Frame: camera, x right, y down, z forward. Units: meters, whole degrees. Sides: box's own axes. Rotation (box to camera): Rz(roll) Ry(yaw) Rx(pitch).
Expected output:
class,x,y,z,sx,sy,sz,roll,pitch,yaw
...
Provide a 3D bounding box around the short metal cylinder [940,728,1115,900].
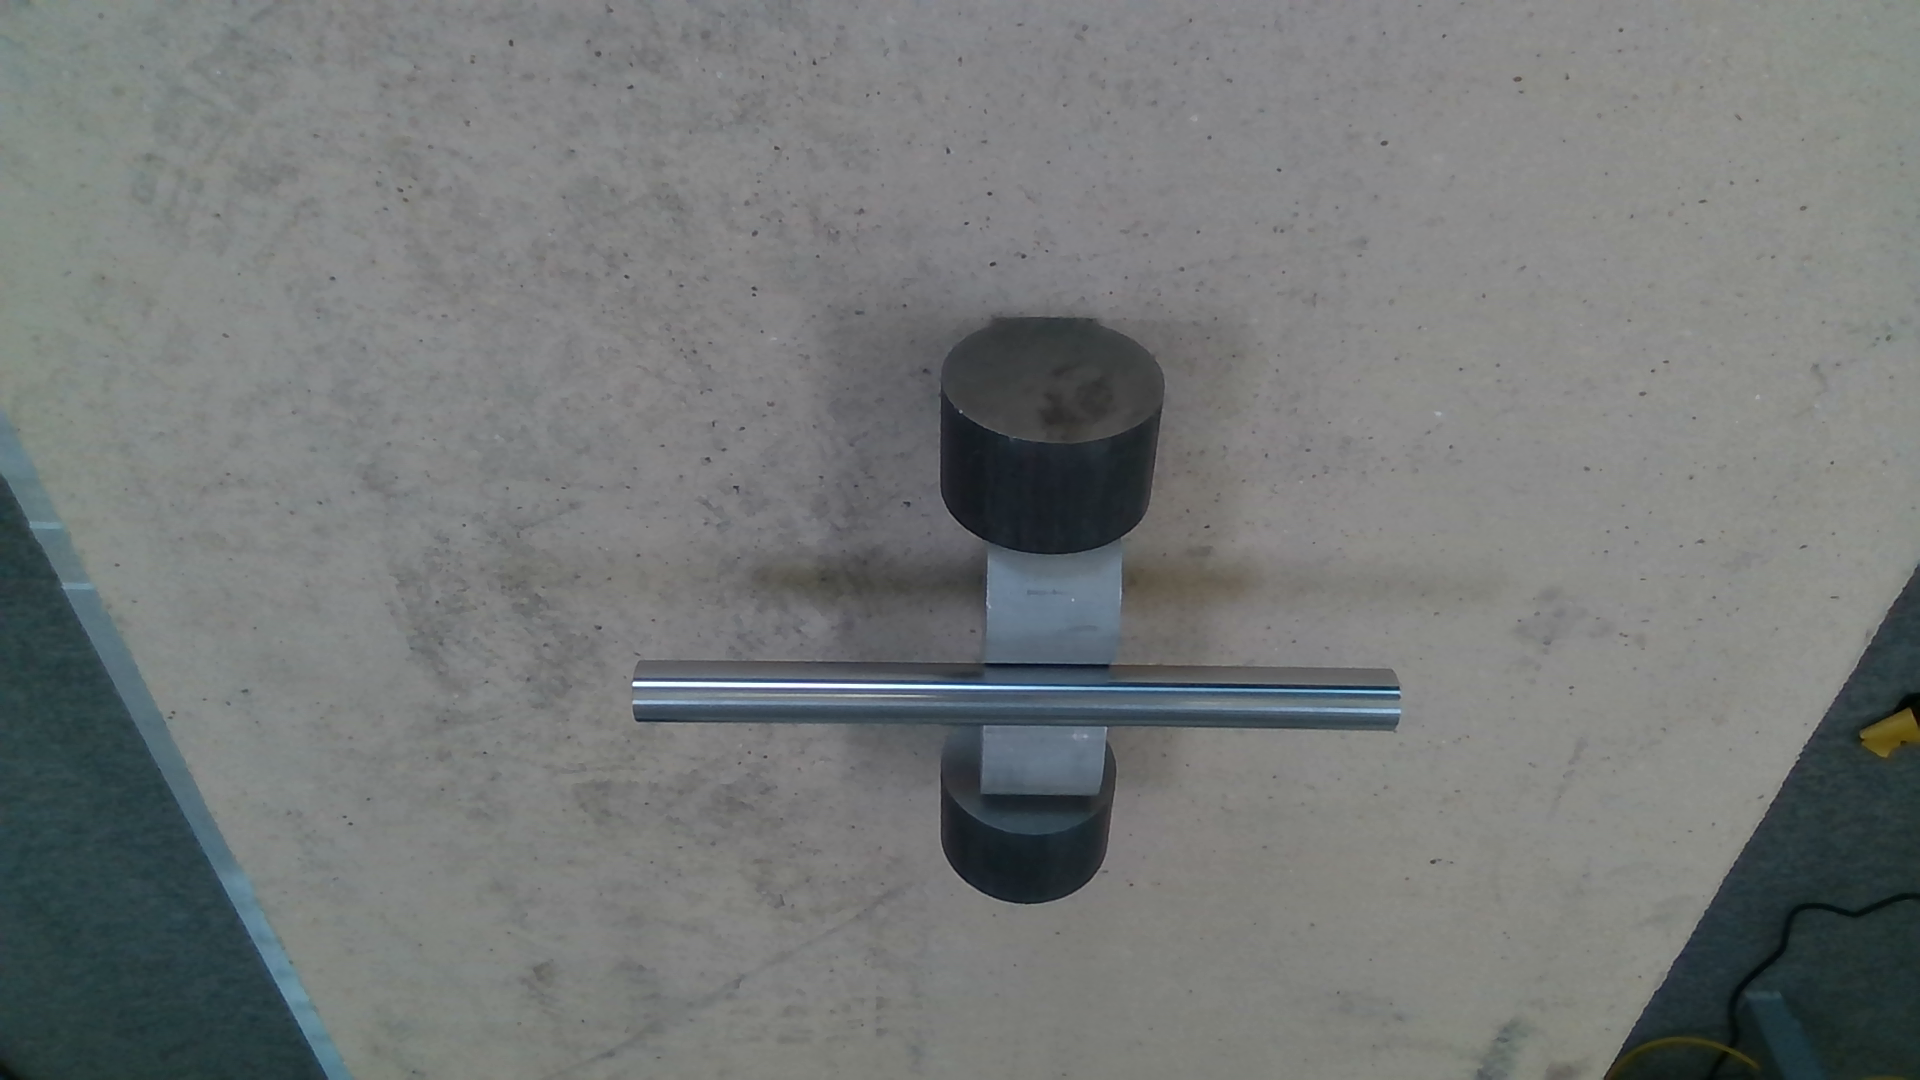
class,x,y,z,sx,sy,sz,roll,pitch,yaw
short metal cylinder,0.030,0.121,0.646,0.080,0.080,0.050,1,130,0

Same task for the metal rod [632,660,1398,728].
class,x,y,z,sx,sy,sz,roll,pitch,yaw
metal rod,0.022,0.062,0.552,0.300,0.025,0.025,1,130,0

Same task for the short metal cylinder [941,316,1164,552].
class,x,y,z,sx,sy,sz,roll,pitch,yaw
short metal cylinder,0.033,-0.040,0.510,0.080,0.080,0.050,1,130,0

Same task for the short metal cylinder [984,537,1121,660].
class,x,y,z,sx,sy,sz,roll,pitch,yaw
short metal cylinder,0.035,0.009,0.552,0.050,0.080,0.080,1,130,0

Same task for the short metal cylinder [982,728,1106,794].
class,x,y,z,sx,sy,sz,roll,pitch,yaw
short metal cylinder,0.035,0.070,0.603,0.050,0.080,0.080,1,130,0
